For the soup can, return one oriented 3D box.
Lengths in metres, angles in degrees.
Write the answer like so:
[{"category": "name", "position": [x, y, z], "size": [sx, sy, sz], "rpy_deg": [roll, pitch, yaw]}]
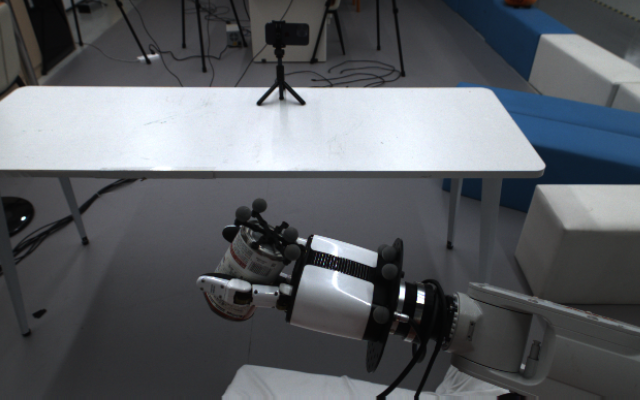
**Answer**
[{"category": "soup can", "position": [-0.082, 0.084, 0.566], "size": [0.067, 0.101, 0.067], "rpy_deg": [28, 21, -12]}]
